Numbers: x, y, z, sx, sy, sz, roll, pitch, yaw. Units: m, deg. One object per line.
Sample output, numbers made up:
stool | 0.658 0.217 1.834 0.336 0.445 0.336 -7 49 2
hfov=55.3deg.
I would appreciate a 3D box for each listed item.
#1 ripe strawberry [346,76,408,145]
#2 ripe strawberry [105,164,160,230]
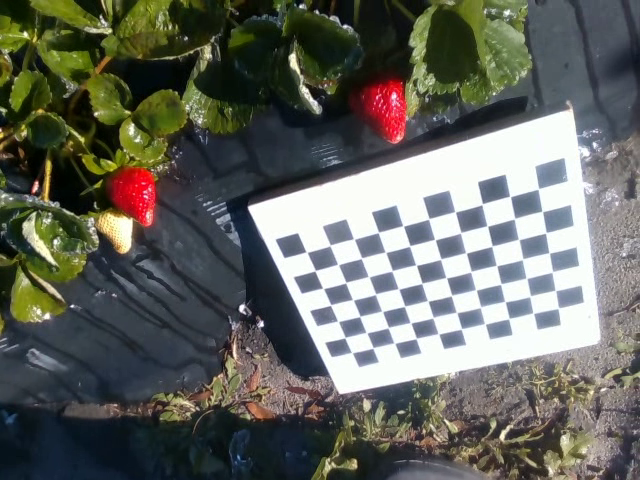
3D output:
ripe strawberry | 0.050 -0.099 0.475 0.048 0.061 0.044 -21 0 17
ripe strawberry | -0.160 -0.035 0.539 0.042 0.061 0.046 -28 -12 21
